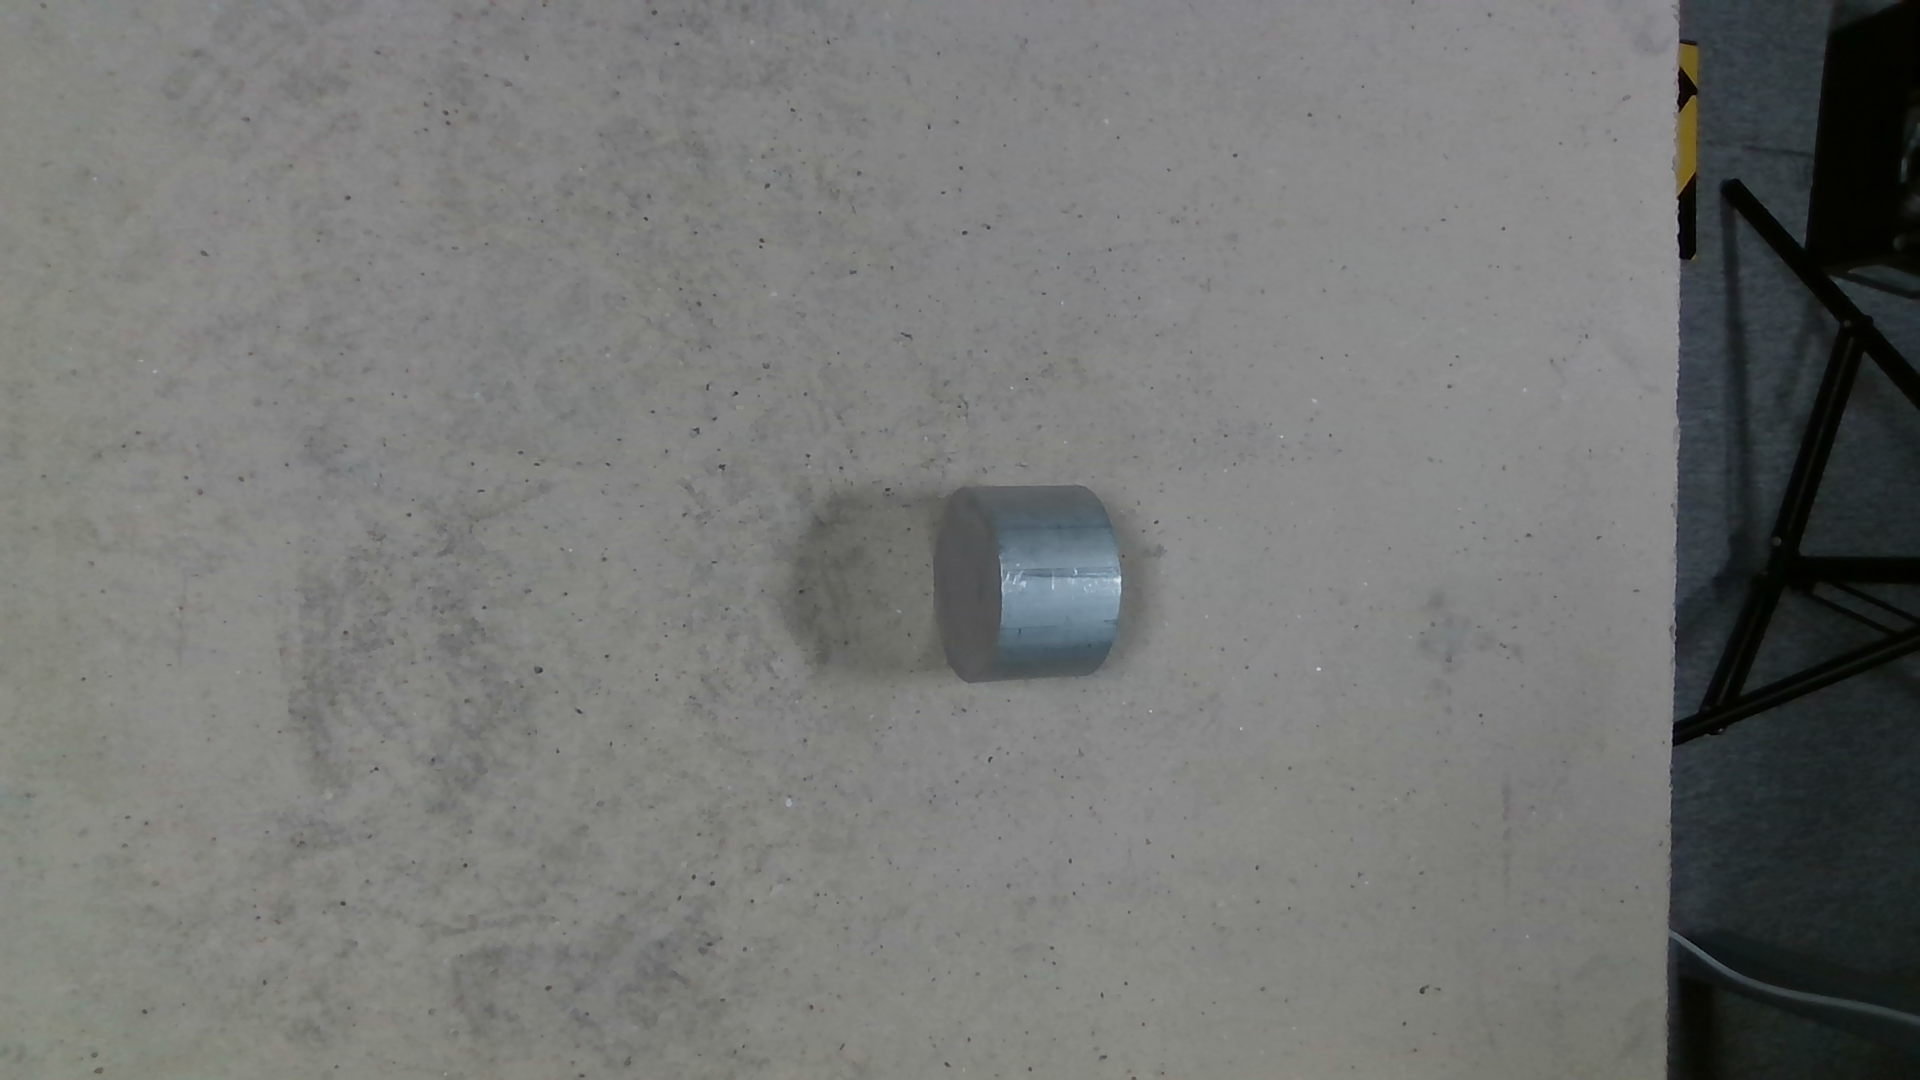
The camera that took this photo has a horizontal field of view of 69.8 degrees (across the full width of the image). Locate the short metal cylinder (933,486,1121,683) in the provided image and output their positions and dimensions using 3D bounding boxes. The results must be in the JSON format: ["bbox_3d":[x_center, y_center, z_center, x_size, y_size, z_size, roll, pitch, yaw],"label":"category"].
[{"bbox_3d":[0.026,0.018,0.567,0.050,0.080,0.080,-1,90,-20],"label":"short metal cylinder"}]
